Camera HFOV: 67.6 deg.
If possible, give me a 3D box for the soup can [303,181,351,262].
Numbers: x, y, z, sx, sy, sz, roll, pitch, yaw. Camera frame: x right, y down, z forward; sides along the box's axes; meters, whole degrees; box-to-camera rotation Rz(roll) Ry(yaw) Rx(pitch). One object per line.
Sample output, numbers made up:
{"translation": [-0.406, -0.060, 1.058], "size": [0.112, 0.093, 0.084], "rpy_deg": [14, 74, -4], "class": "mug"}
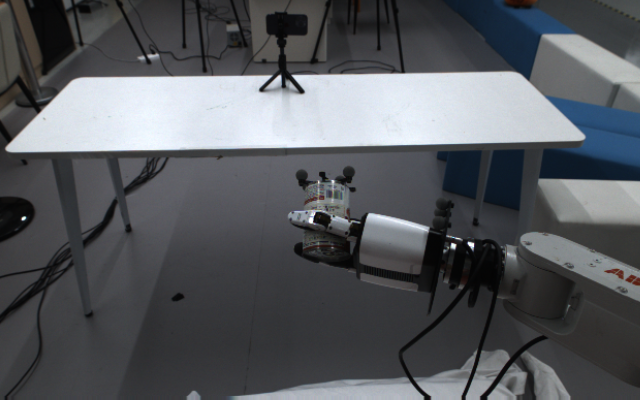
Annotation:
{"translation": [0.011, 0.031, 0.682], "size": [0.067, 0.067, 0.101], "rpy_deg": [2, 68, -1], "class": "soup can"}
